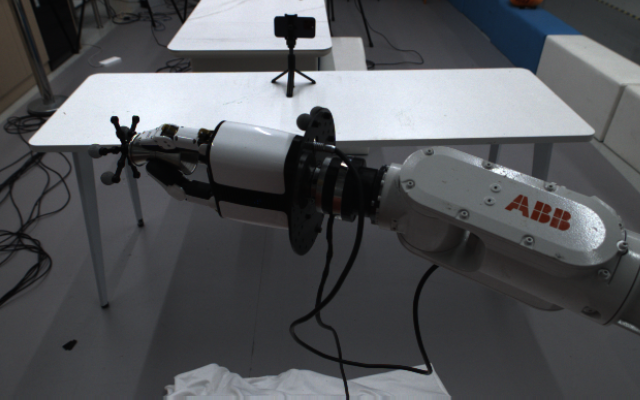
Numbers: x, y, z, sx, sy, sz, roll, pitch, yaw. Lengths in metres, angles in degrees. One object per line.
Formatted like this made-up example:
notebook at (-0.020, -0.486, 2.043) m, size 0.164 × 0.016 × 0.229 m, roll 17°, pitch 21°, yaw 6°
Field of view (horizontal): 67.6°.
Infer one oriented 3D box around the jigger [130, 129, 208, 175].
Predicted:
jigger at (-0.177, -0.060, 0.567) m, size 0.071 × 0.043 × 0.043 m, roll 8°, pitch 35°, yaw 14°
